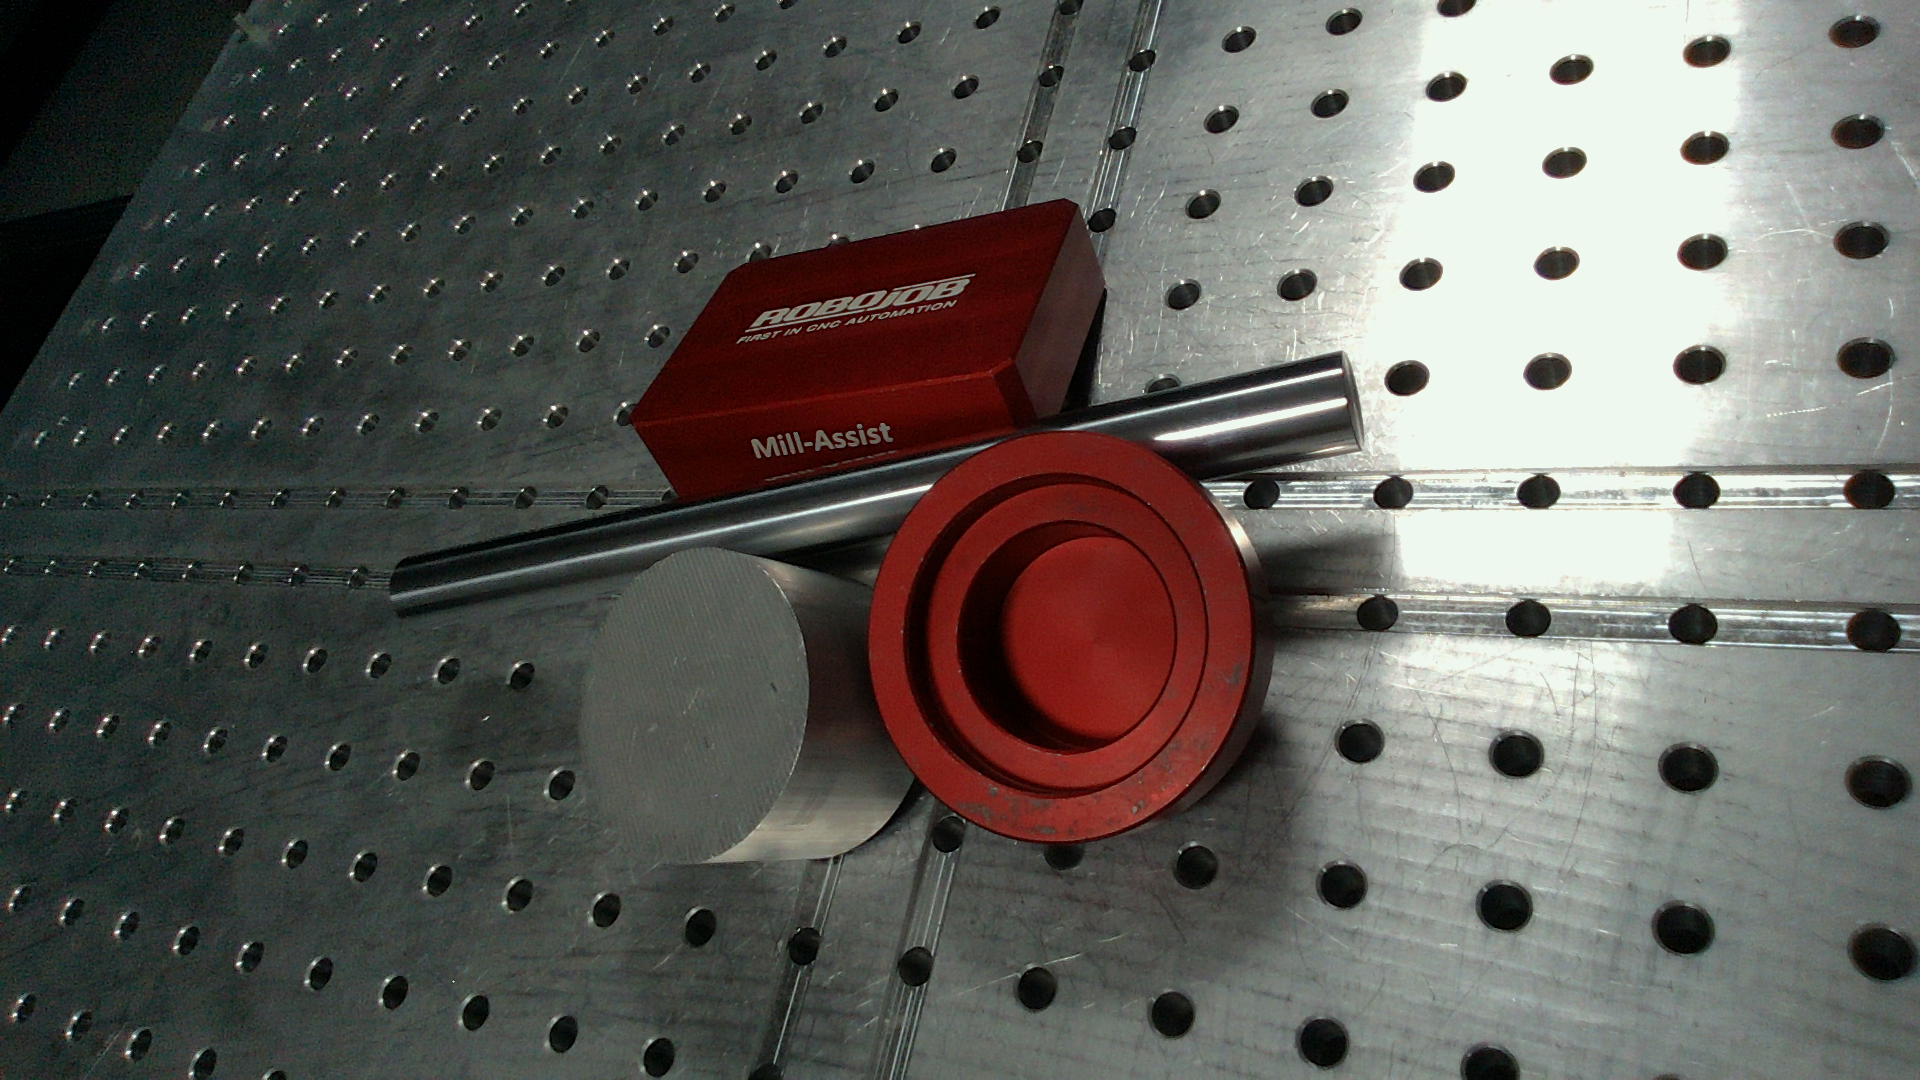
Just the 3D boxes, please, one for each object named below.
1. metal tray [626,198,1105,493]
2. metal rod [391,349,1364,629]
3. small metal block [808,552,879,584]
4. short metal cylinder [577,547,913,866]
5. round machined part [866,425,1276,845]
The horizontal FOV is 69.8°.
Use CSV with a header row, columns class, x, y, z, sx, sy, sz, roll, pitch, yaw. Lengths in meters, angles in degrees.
class,x,y,z,sx,sy,sz,roll,pitch,yaw
metal tray,-0.028,-0.060,0.428,0.130,0.030,0.090,-5,41,25
metal rod,-0.040,-0.009,0.391,0.299,0.025,0.025,-11,57,23
small metal block,-0.030,0.015,0.415,0.050,0.025,0.050,19,72,36
short metal cylinder,-0.055,0.045,0.367,0.080,0.050,0.080,-8,76,33
round machined part,0.029,0.024,0.340,0.098,0.042,0.098,-3,82,24
